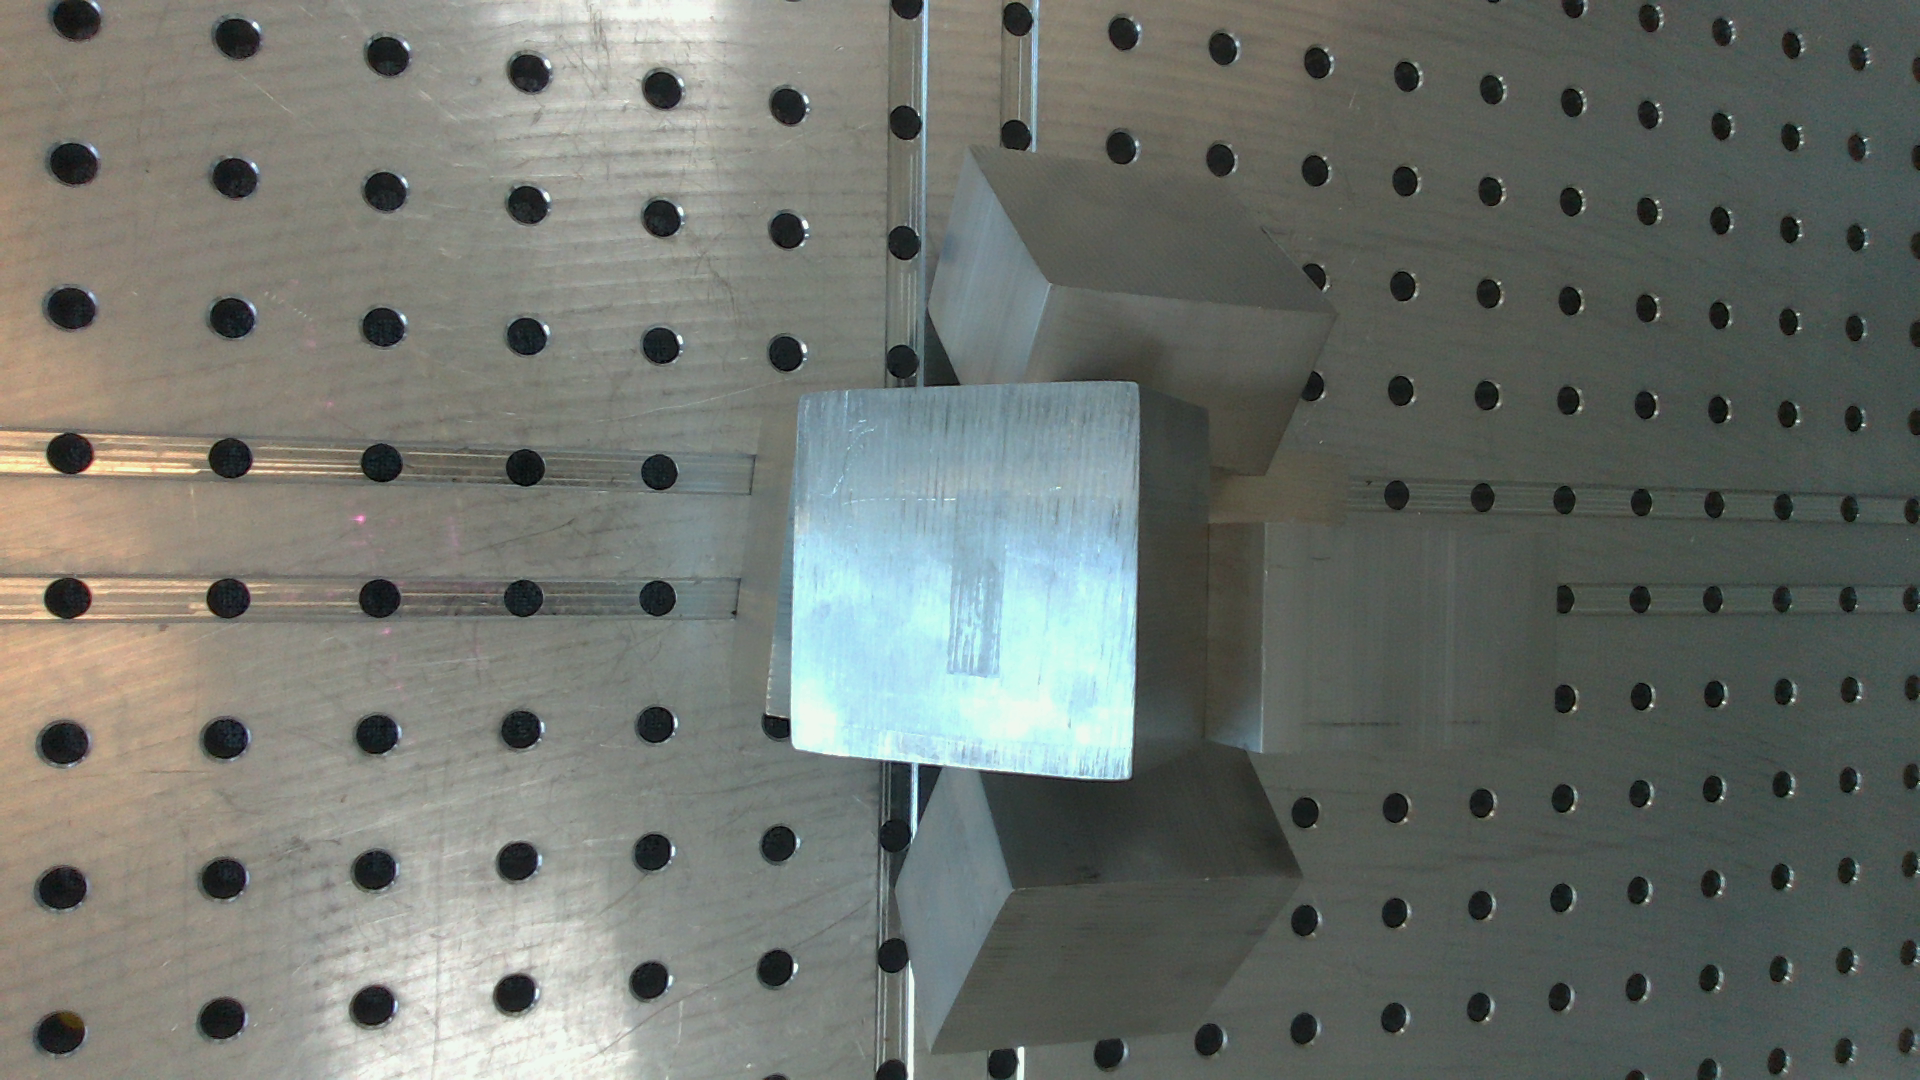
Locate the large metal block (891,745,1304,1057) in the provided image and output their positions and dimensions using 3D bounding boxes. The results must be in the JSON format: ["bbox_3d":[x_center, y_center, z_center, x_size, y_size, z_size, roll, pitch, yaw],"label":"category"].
[{"bbox_3d":[0.033,0.094,0.373,0.080,0.050,0.080,2,134,-20],"label":"large metal block"}]

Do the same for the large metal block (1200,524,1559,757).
[{"bbox_3d":[0.089,0.023,0.346,0.080,0.080,0.050,2,89,-20],"label":"large metal block"}]

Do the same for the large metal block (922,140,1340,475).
[{"bbox_3d":[0.042,-0.064,0.374,0.080,0.080,0.050,2,128,-20],"label":"large metal block"}]

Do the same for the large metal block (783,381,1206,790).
[{"bbox_3d":[0.009,0.008,0.308,0.080,0.050,0.080,1,90,25],"label":"large metal block"}]

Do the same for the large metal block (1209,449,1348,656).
[{"bbox_3d":[0.064,0.013,0.406,0.080,0.050,0.080,3,89,-20],"label":"large metal block"}]

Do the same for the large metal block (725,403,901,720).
[{"bbox_3d":[-0.016,0.009,0.377,0.080,0.050,0.080,7,88,-20],"label":"large metal block"}]
